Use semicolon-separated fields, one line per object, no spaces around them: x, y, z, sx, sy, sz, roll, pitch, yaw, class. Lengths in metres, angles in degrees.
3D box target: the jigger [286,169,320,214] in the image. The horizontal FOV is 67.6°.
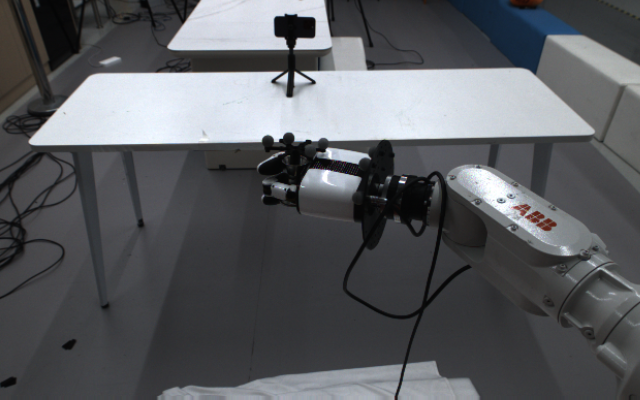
-0.035;-0.030;0.735;0.043;0.071;0.043;3;25;-1;jigger
